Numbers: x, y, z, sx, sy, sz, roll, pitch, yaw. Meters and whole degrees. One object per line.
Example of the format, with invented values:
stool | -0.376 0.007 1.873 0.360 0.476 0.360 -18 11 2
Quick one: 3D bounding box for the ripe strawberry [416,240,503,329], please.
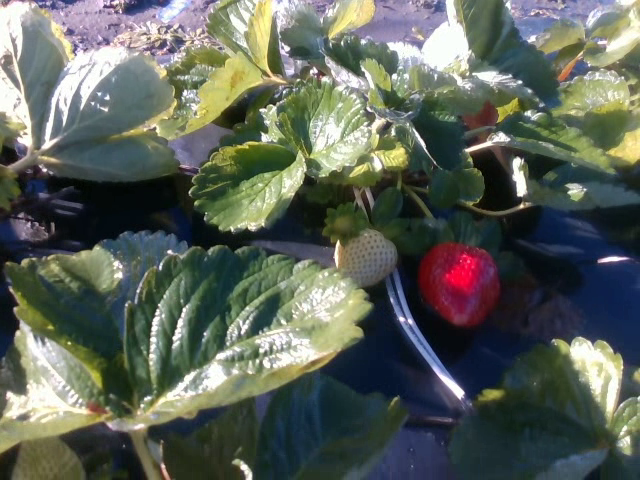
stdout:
ripe strawberry | 0.087 0.024 0.342 0.040 0.063 0.080 -40 11 27
